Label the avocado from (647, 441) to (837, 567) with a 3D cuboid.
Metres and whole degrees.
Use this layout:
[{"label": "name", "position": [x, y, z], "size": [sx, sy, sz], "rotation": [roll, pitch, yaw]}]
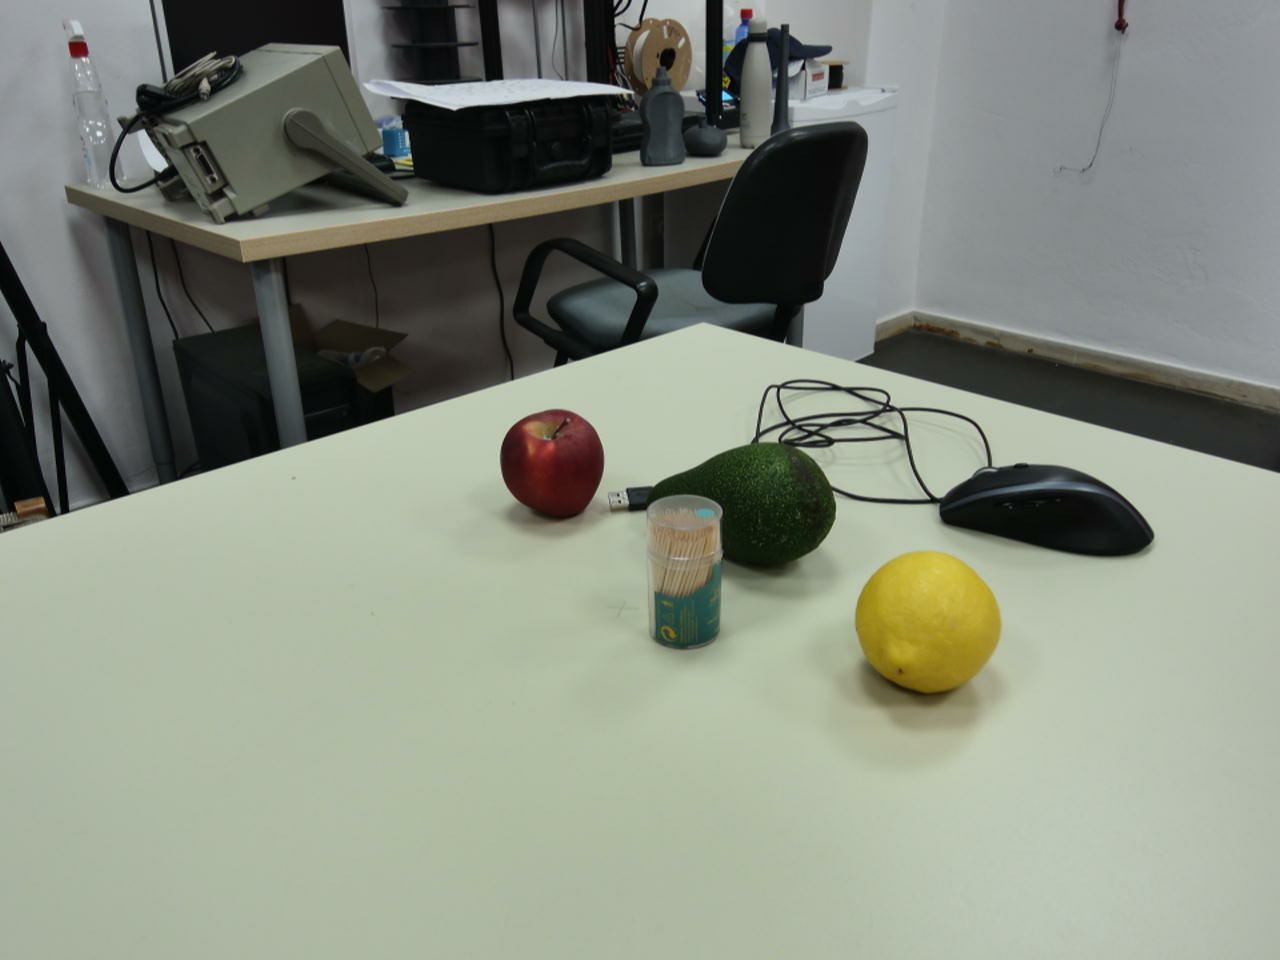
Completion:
[{"label": "avocado", "position": [0.065, 0.009, 0.610], "size": [0.074, 0.076, 0.123], "rotation": [-17, 29, -32]}]
